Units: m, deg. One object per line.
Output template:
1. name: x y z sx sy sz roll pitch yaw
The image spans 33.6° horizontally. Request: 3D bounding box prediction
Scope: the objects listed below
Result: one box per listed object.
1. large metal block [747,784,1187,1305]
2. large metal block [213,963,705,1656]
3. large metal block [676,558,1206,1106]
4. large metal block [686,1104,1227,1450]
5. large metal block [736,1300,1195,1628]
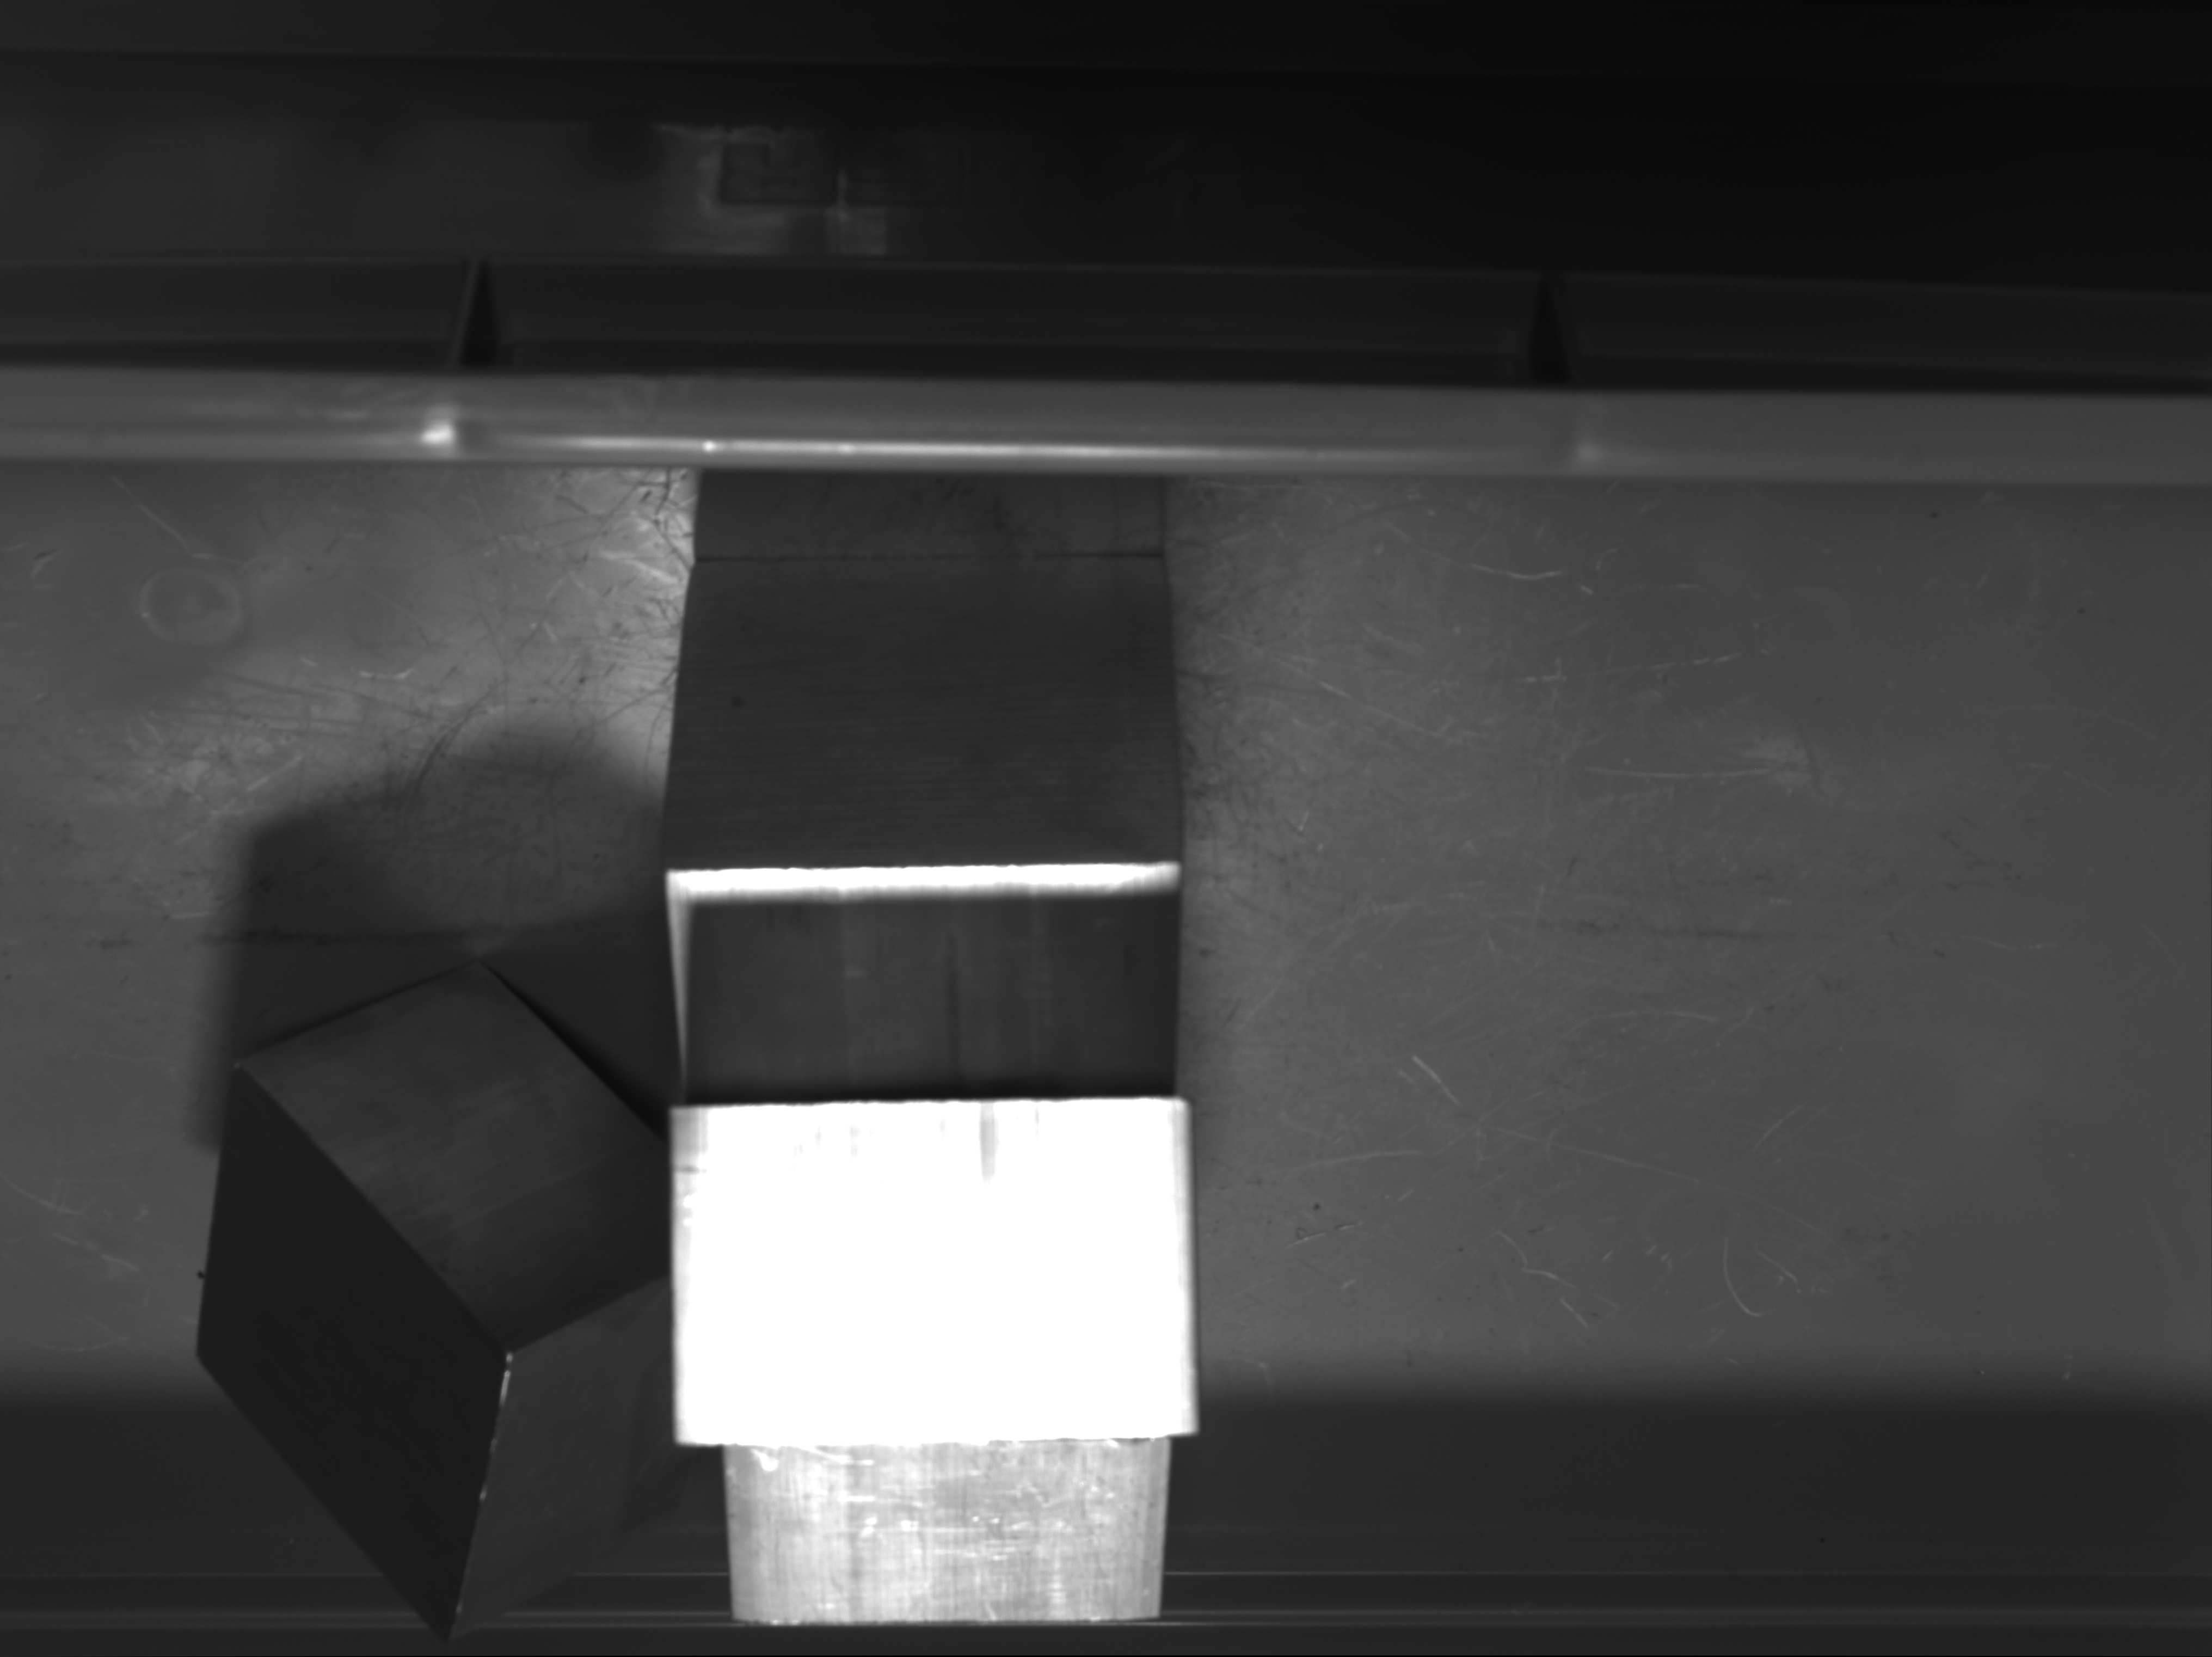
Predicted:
1. large metal block: -0.027 0.039 0.654 0.080 0.050 0.080 -1 130 -1
2. large metal block: -0.113 0.086 0.658 0.050 0.080 0.080 -25 145 -40
3. large metal block: -0.026 0.000 0.599 0.080 0.080 0.050 -1 130 -1
4. large metal block: -0.023 0.070 0.586 0.080 0.050 0.080 -1 175 -1
5. large metal block: -0.026 0.101 0.684 0.080 0.080 0.050 0 130 -2
